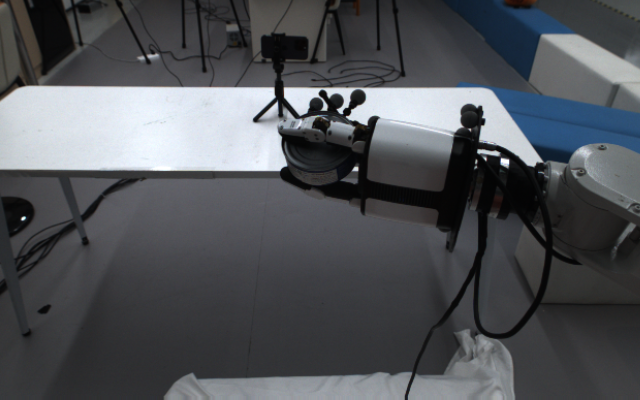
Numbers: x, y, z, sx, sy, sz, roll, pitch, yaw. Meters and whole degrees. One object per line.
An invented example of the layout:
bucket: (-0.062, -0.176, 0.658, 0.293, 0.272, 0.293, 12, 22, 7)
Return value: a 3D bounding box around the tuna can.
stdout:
tuna can: (0.002, -0.061, 0.556, 0.085, 0.034, 0.085, -4, 56, 6)
